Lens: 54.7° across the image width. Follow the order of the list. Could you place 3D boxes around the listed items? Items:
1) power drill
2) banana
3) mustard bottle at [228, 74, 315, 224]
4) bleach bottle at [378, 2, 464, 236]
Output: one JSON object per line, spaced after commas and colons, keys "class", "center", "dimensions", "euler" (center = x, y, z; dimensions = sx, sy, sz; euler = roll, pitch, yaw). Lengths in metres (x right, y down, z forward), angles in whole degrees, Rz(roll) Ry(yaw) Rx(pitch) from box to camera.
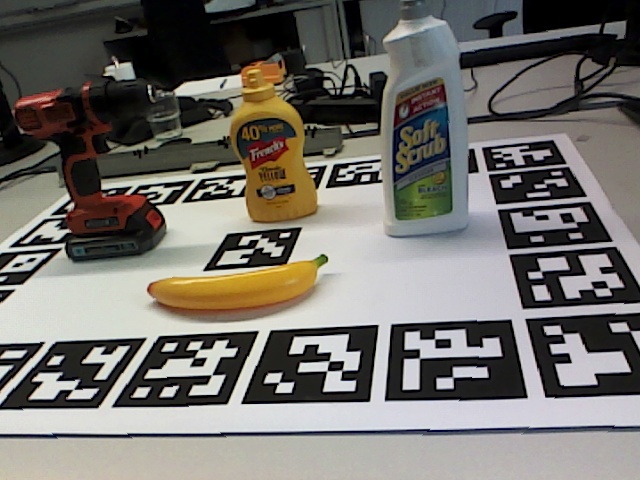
{"class": "power drill", "center": [-0.263, -0.109, 0.789], "dimensions": [0.185, 0.186, 0.057], "euler": [-10, 26, 11]}
{"class": "banana", "center": [-0.095, 0.042, 0.643], "dimensions": [0.198, 0.039, 0.074], "euler": [-9, 28, 10]}
{"class": "mustard bottle", "center": [-0.067, -0.117, 0.798], "dimensions": [0.096, 0.191, 0.058], "euler": [-6, 27, 6]}
{"class": "bleach bottle", "center": [0.103, -0.128, 0.683], "dimensions": [0.103, 0.250, 0.068], "euler": [0, 28, 21]}
